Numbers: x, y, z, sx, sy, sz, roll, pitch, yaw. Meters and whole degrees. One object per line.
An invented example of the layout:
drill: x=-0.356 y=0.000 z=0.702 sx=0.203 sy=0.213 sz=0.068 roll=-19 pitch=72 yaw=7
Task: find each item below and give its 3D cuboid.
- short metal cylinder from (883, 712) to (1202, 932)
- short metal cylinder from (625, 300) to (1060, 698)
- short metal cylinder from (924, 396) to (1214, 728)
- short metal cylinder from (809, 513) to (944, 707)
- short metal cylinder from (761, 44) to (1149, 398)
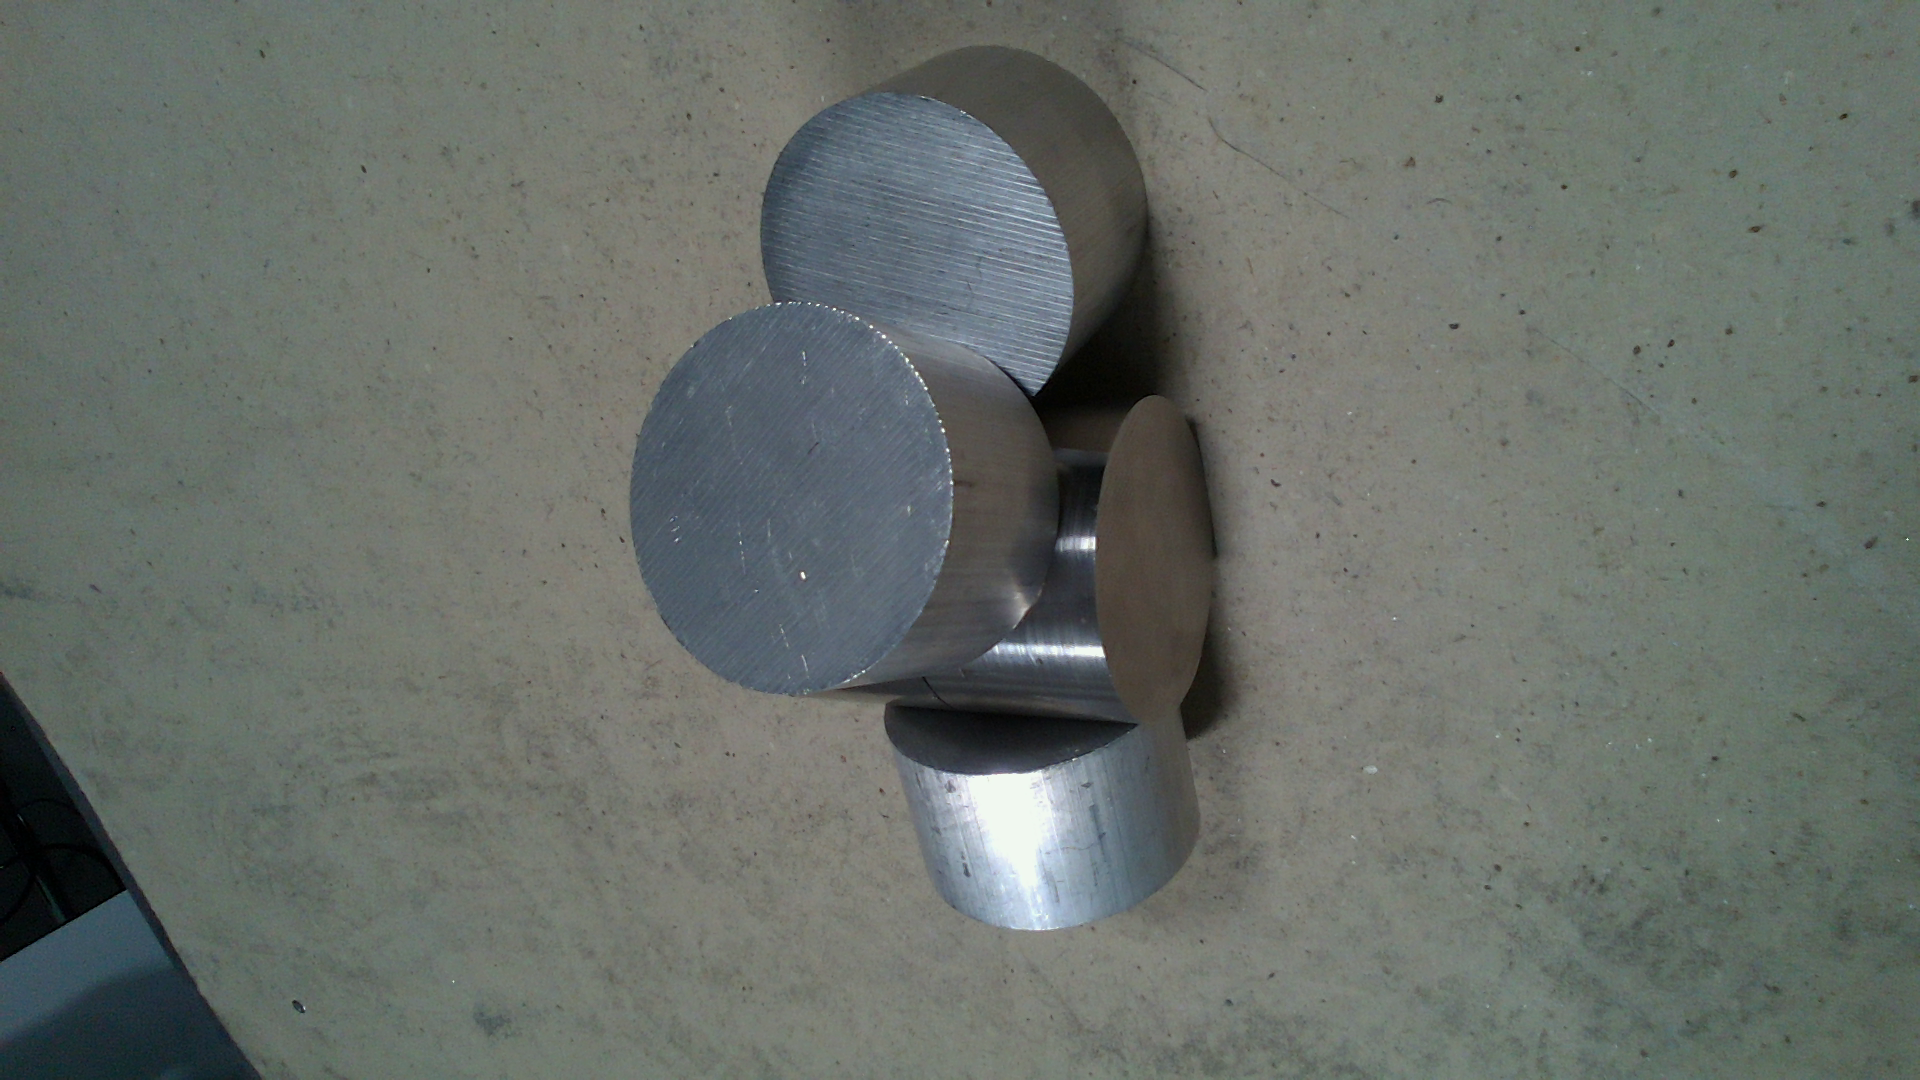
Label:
short metal cylinder: x=0.024 y=0.062 z=0.384 sx=0.080 sy=0.080 sz=0.050 roll=0 pitch=118 yaw=28
short metal cylinder: x=-0.025 y=-0.008 z=0.300 sx=0.080 sy=0.050 sz=0.080 roll=0 pitch=90 yaw=28
short metal cylinder: x=0.027 y=0.005 z=0.346 sx=0.050 sy=0.080 sz=0.080 roll=1 pitch=119 yaw=29
short metal cylinder: x=-0.019 y=0.004 z=0.371 sx=0.050 sy=0.080 sz=0.080 roll=1 pitch=119 yaw=28
short metal cylinder: x=0.000 y=-0.073 z=0.333 sx=0.080 sy=0.050 sz=0.080 roll=13 pitch=124 yaw=21
